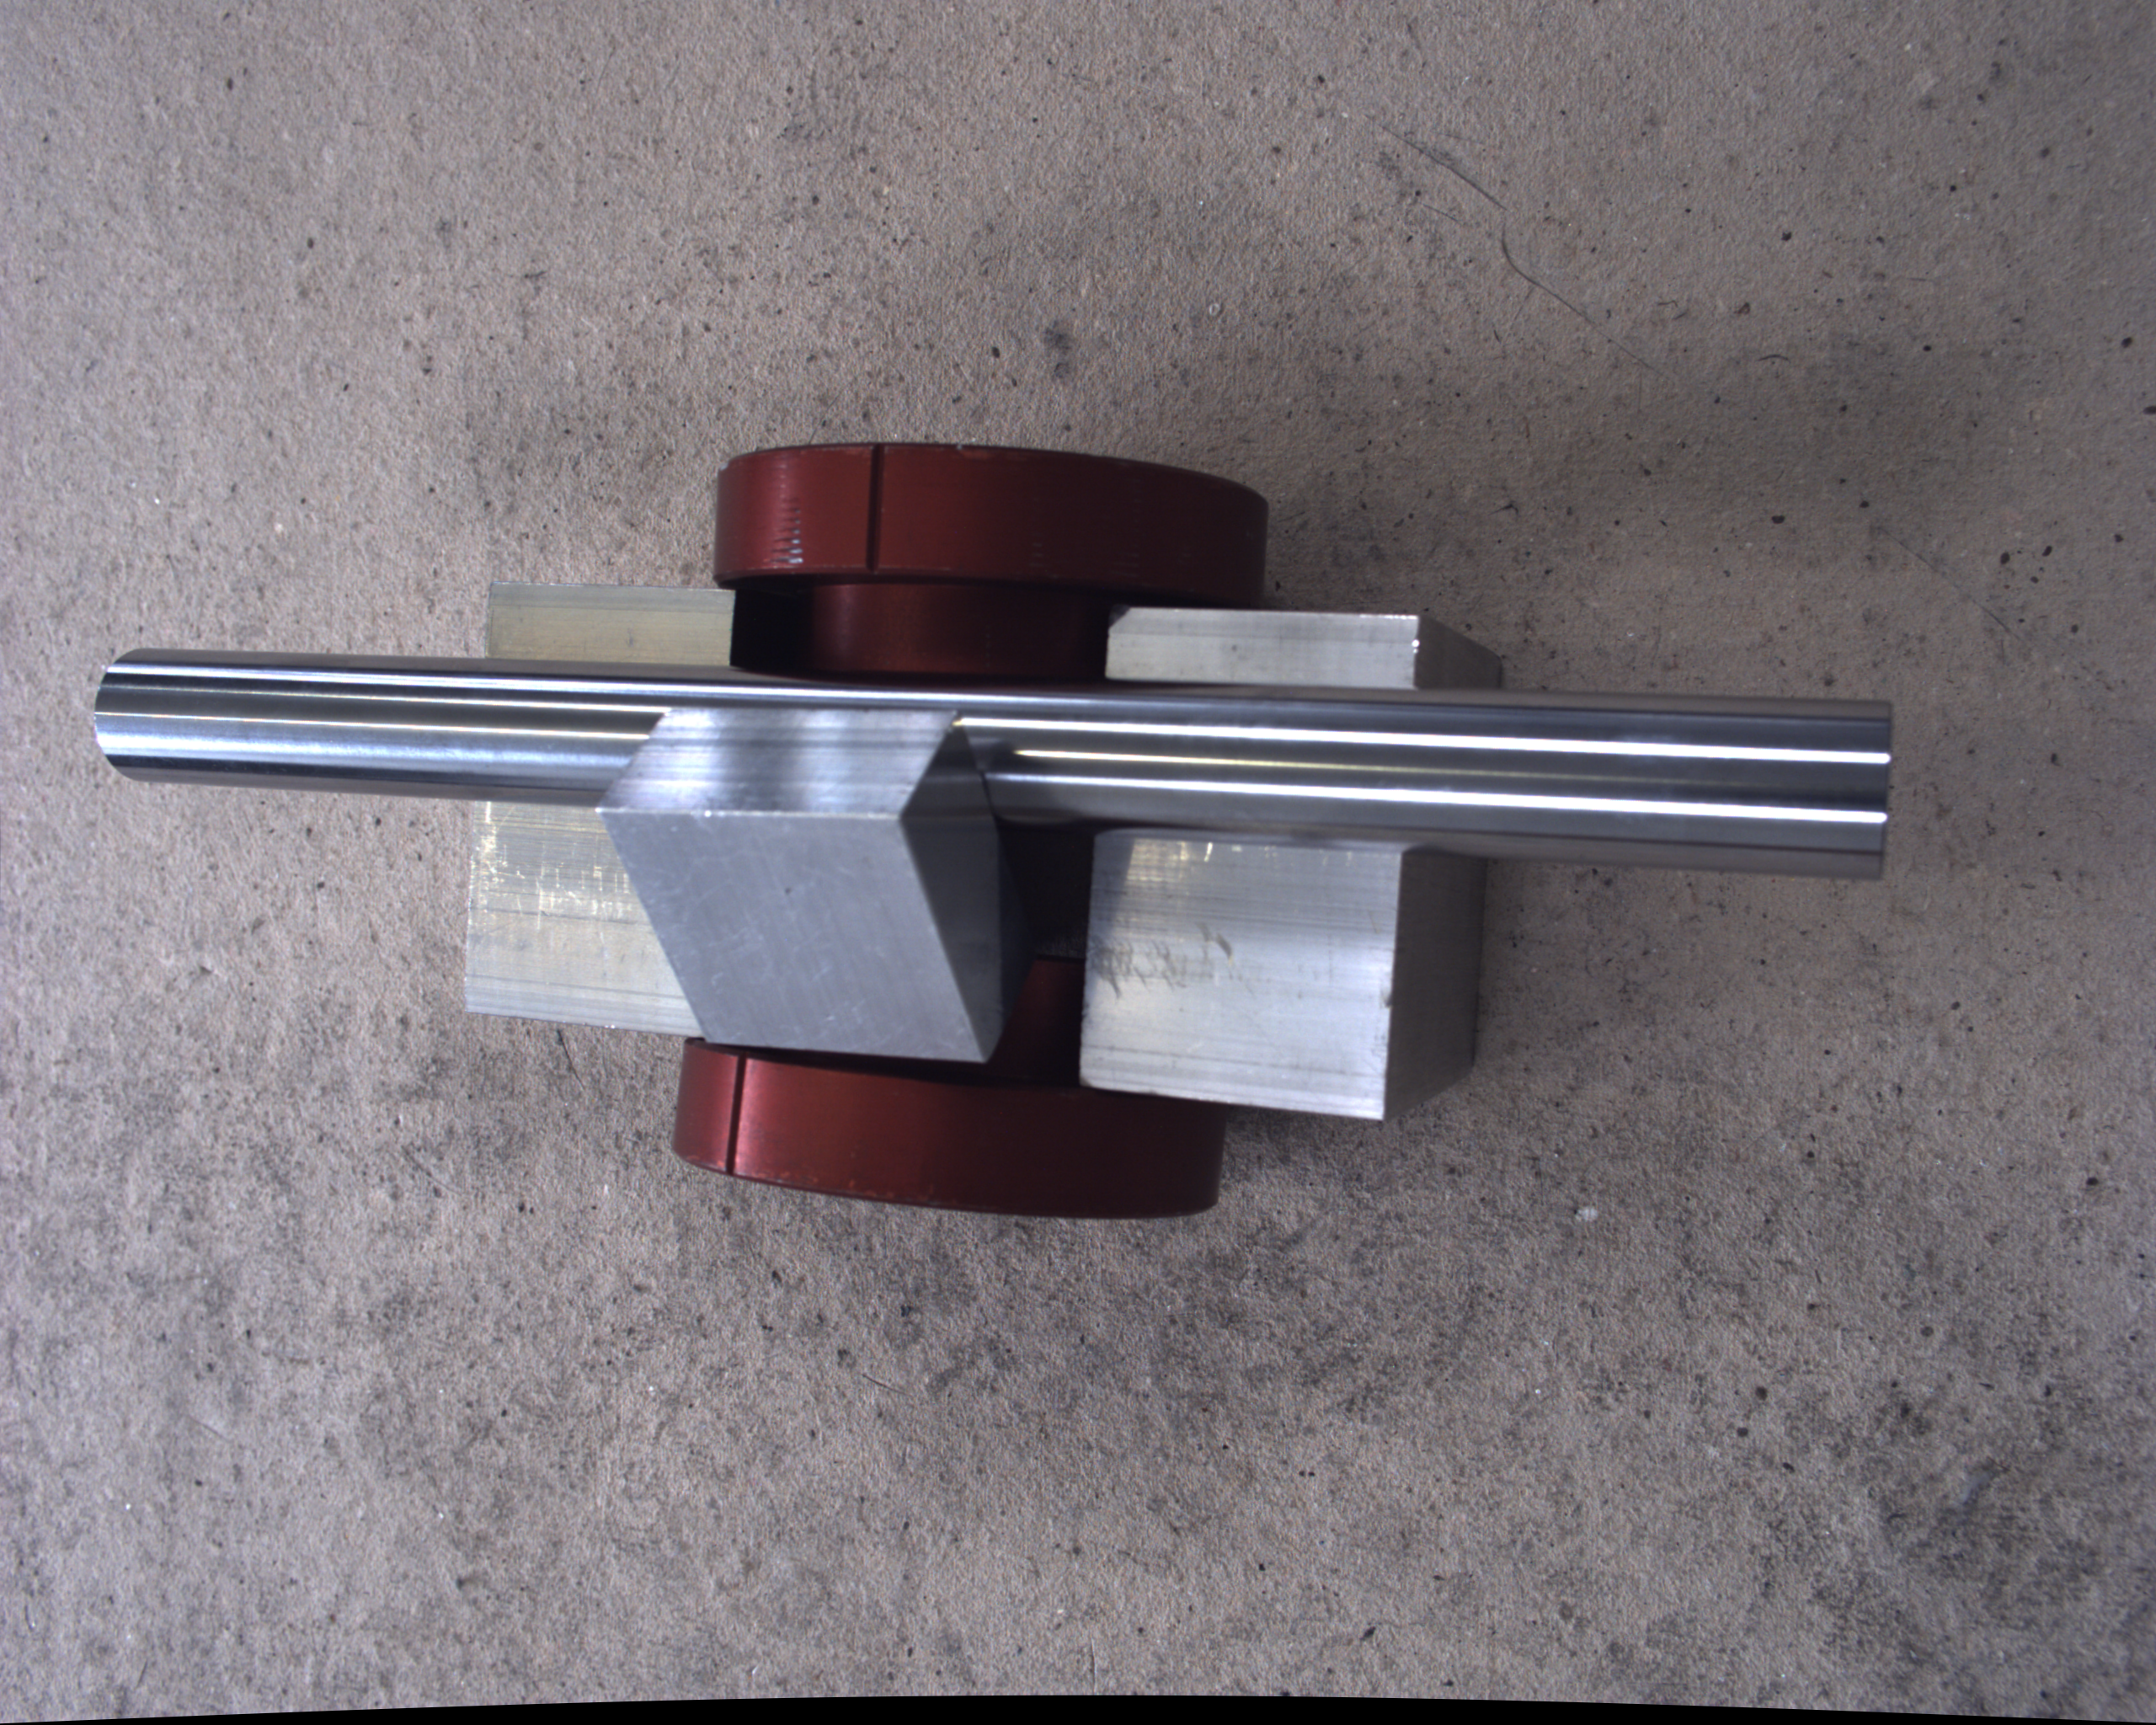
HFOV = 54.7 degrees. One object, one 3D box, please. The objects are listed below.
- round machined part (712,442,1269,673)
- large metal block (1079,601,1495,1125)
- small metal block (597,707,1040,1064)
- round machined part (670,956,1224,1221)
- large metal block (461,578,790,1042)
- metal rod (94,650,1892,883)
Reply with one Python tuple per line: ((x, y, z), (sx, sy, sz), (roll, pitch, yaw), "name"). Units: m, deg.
((-0.016, -0.047, 0.377), (0.098, 0.098, 0.042), (4, 92, 20), "round machined part")
((0.040, -0.001, 0.367), (0.050, 0.080, 0.079), (4, 92, 20), "large metal block")
((-0.039, 0.003, 0.324), (0.050, 0.025, 0.050), (2, 131, 21), "small metal block")
((-0.022, 0.036, 0.379), (0.098, 0.098, 0.042), (5, 87, 20), "round machined part")
((-0.072, -0.010, 0.406), (0.050, 0.080, 0.079), (5, 92, 20), "large metal block")
((-0.031, -0.018, 0.336), (0.301, 0.025, 0.025), (4, 91, 20), "metal rod")
